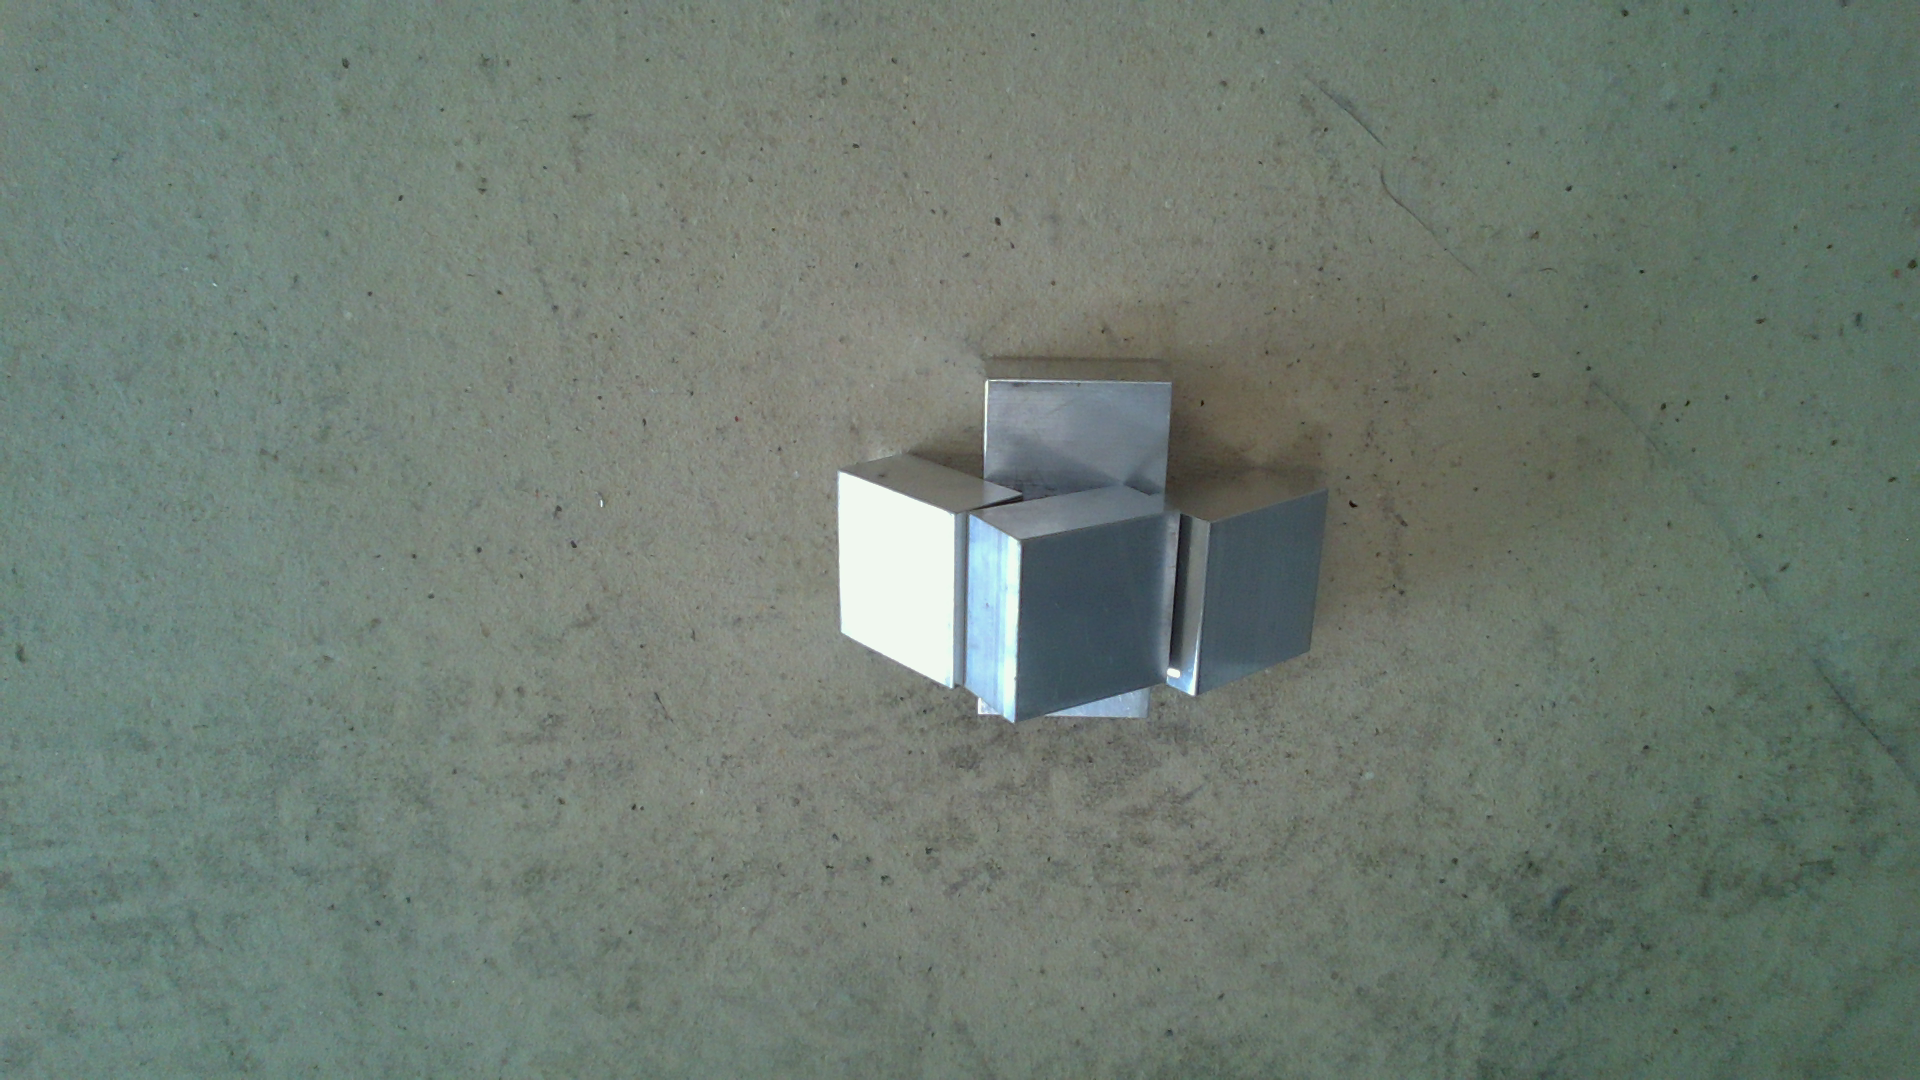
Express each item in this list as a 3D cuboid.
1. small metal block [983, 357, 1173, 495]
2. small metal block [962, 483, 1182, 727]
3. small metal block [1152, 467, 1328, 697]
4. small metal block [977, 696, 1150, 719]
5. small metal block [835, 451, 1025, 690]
[{"bbox_3d":[0.031,-0.023,0.386,0.050,0.025,0.050,1,110,0],"label":"small metal block"},{"bbox_3d":[0.029,0.016,0.362,0.050,0.025,0.050,-11,113,-29],"label":"small metal block"},{"bbox_3d":[0.075,0.010,0.385,0.050,0.025,0.050,-15,116,-37],"label":"small metal block"},{"bbox_3d":[0.030,0.024,0.403,0.050,0.025,0.050,1,110,0],"label":"small metal block"},{"bbox_3d":[-0.009,0.007,0.382,0.025,0.050,0.050,-17,117,-39],"label":"small metal block"}]
